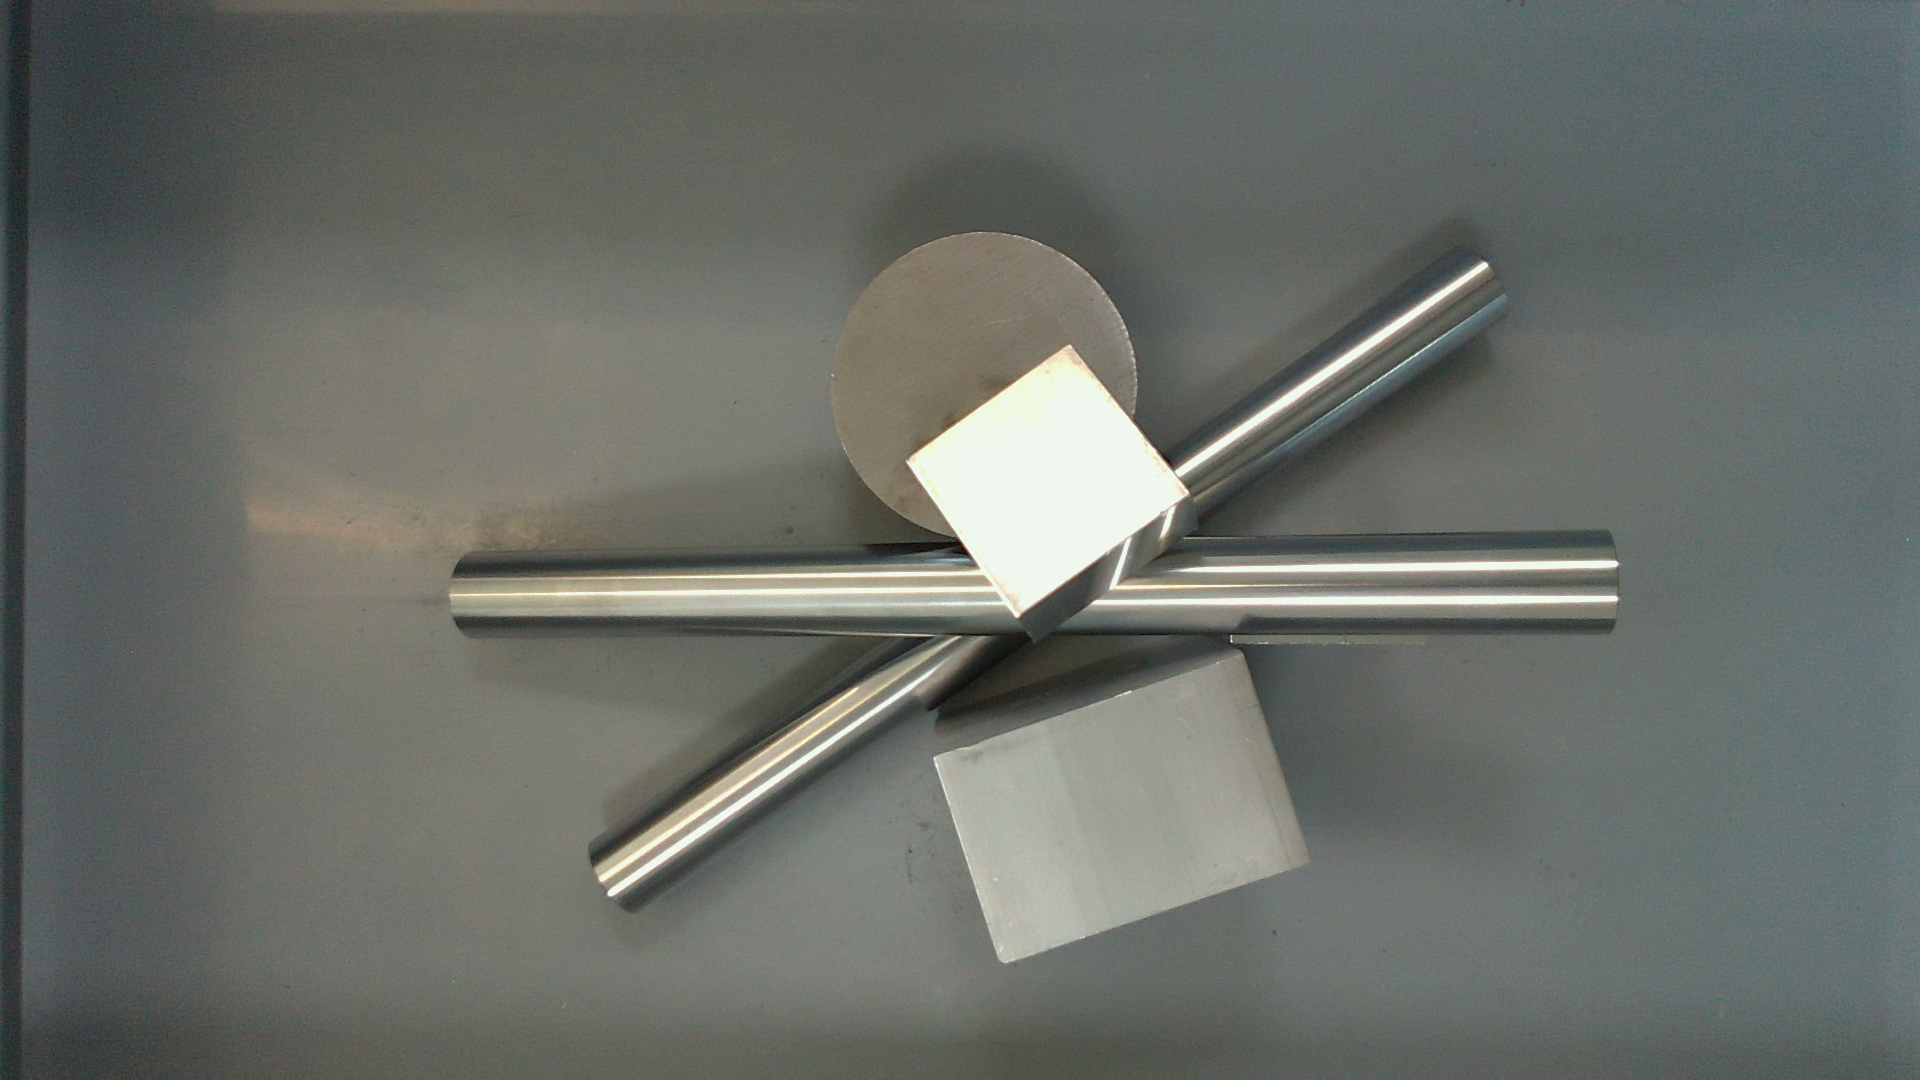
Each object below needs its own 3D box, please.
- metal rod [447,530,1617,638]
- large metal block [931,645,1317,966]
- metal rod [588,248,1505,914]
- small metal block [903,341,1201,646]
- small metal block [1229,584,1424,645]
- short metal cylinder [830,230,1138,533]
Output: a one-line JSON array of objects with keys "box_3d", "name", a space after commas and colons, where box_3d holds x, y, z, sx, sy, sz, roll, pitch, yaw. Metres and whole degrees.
[{"box_3d": [0.007, 0.013, 0.359, 0.299, 0.025, 0.025, -1, 90, 13], "name": "metal rod"}, {"box_3d": [0.039, 0.065, 0.366, 0.080, 0.080, 0.050, -18, 90, 0], "name": "large metal block"}, {"box_3d": [0.025, 0.012, 0.395, 0.300, 0.025, 0.025, -35, 90, 0], "name": "metal rod"}, {"box_3d": [0.023, -0.011, 0.336, 0.050, 0.025, 0.050, -35, 68, 0], "name": "small metal block"}, {"box_3d": [0.096, 0.015, 0.382, 0.050, 0.050, 0.025, 0, 90, 1], "name": "small metal block"}, {"box_3d": [0.006, -0.040, 0.381, 0.080, 0.050, 0.080, 0, 89, 0], "name": "short metal cylinder"}]
